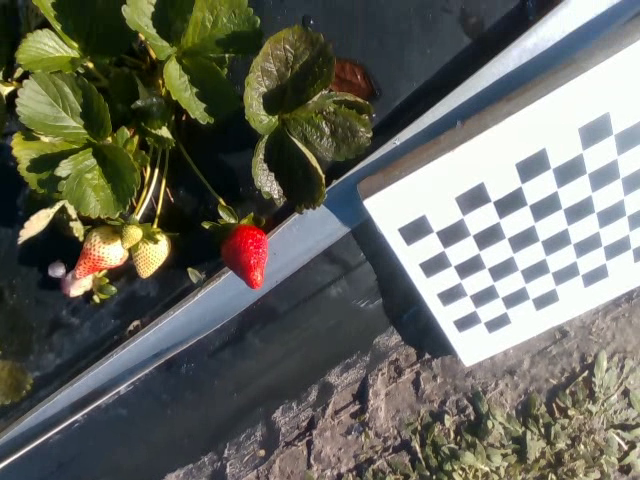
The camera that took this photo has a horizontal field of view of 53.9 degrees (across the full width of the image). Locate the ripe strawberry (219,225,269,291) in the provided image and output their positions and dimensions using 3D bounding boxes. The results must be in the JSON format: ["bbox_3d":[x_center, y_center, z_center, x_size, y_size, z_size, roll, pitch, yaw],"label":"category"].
[{"bbox_3d":[-0.046,0.013,0.381,0.036,0.046,0.038,-27,-32,14],"label":"ripe strawberry"}]
